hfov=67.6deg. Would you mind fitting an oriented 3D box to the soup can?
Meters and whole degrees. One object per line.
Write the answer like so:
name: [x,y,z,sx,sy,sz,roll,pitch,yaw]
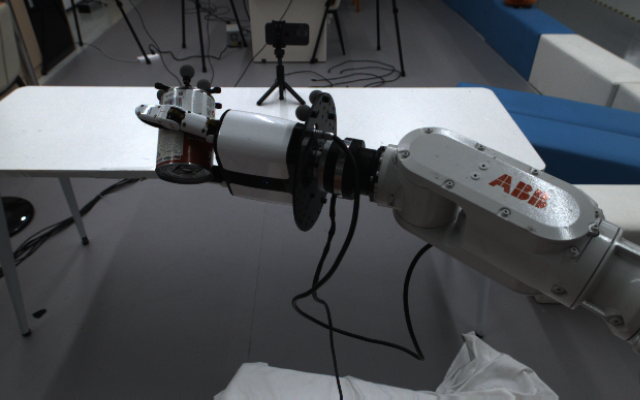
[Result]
soup can: [-0.162,-0.077,0.591,0.067,0.067,0.101,-1,71,-5]
